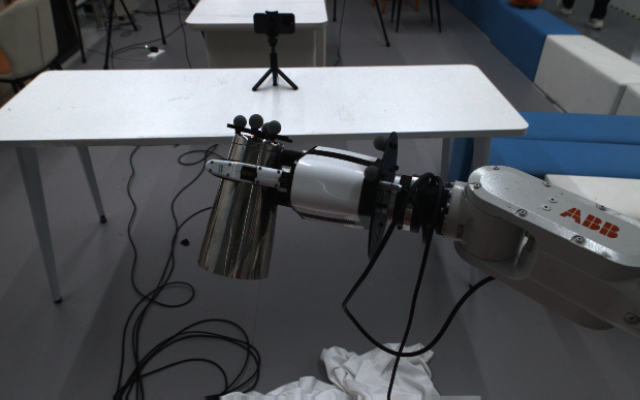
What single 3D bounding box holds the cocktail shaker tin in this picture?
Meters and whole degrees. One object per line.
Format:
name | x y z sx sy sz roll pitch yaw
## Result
cocktail shaker tin | -0.093 0.005 0.623 0.093 0.170 0.093 12 3 -1
